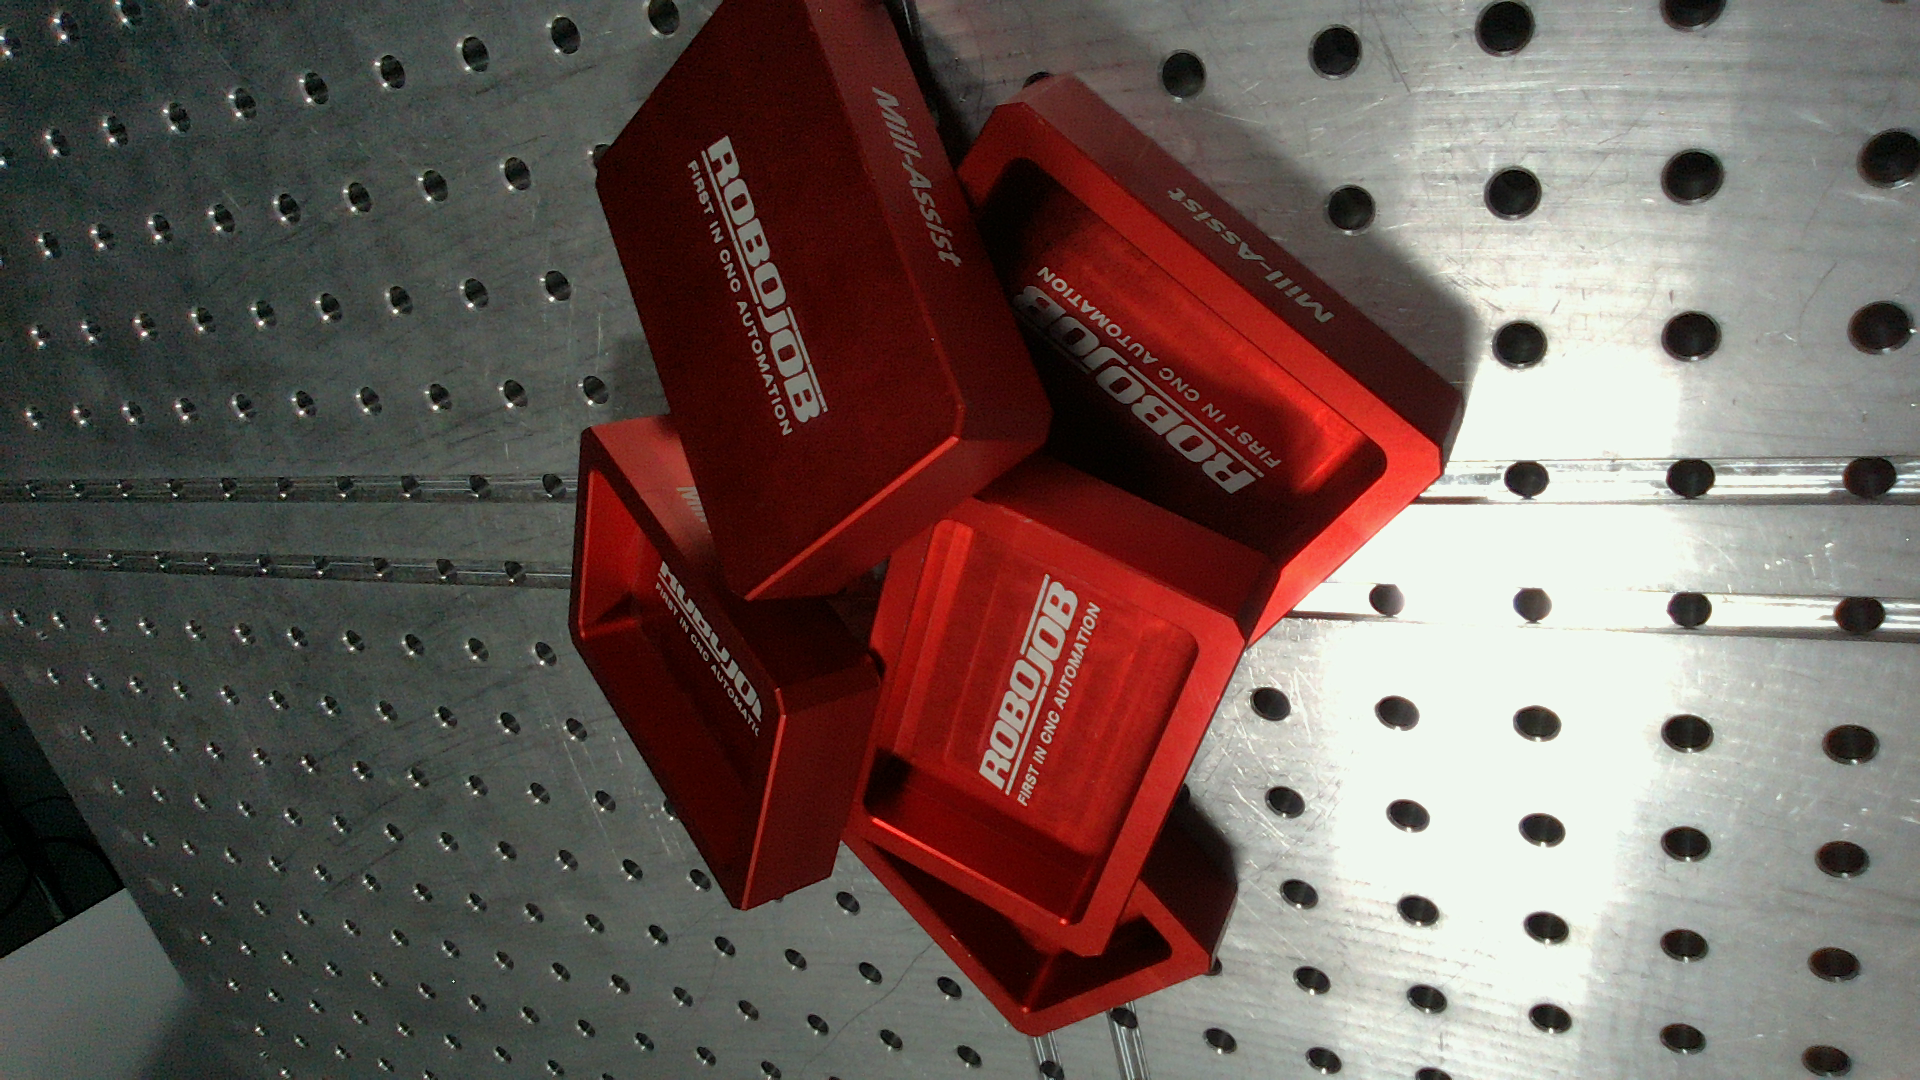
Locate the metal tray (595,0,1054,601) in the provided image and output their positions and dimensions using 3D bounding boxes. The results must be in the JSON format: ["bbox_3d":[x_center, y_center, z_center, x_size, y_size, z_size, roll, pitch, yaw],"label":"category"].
[{"bbox_3d":[-0.039,-0.062,0.336,0.090,0.030,0.130,-35,69,38],"label":"metal tray"}]

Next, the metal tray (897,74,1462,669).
[{"bbox_3d":[0.045,-0.039,0.344,0.130,0.030,0.090,40,129,1],"label":"metal tray"}]

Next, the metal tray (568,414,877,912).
[{"bbox_3d":[-0.078,0.034,0.416,0.130,0.030,0.090,48,137,35],"label":"metal tray"}]

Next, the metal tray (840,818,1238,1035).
[{"bbox_3d":[0.014,0.093,0.443,0.130,0.030,0.090,48,129,-6],"label":"metal tray"}]

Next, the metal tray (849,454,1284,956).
[{"bbox_3d":[0.020,0.044,0.370,0.090,0.030,0.130,25,128,12],"label":"metal tray"}]
